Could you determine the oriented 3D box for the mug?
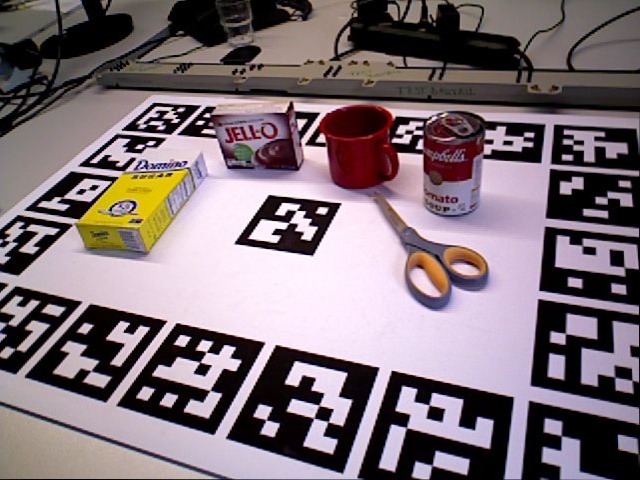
[{"bbox_3d":[0.060,-0.116,0.681,0.092,0.083,0.116,-19,41,-5],"label":"mug"}]

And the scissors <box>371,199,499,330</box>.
[{"bbox_3d":[0.106,0.008,0.581,0.087,0.016,0.201,-29,45,-4],"label":"scissors"}]

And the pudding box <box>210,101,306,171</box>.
[{"bbox_3d":[-0.080,-0.140,0.728,0.114,0.091,0.038,1,49,13],"label":"pudding box"}]

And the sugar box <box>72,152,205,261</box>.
[{"bbox_3d":[-0.230,-0.049,0.708,0.093,0.046,0.172,4,46,20],"label":"sugar box"}]

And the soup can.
[{"bbox_3d":[0.154,-0.077,0.612,0.068,0.104,0.067,-7,40,5],"label":"soup can"}]
